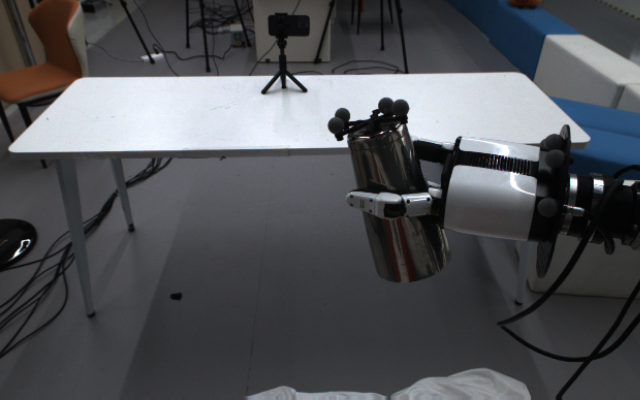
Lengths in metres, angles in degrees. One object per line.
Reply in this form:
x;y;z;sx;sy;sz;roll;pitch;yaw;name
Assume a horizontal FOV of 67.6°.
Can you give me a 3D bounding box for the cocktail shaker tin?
0.087;-0.002;0.553;0.093;0.170;0.093;-17;20;7;cocktail shaker tin
